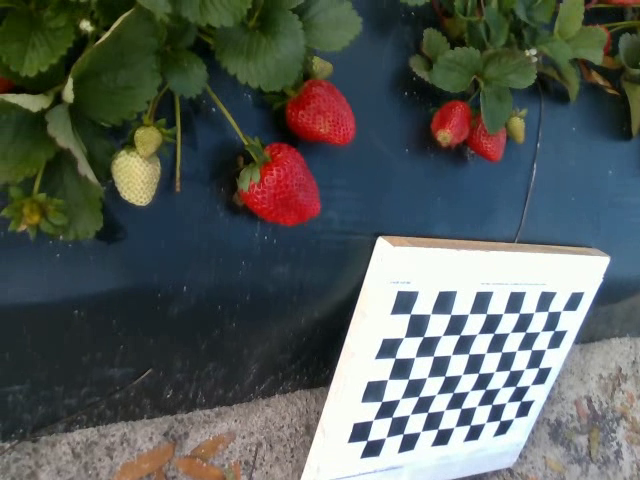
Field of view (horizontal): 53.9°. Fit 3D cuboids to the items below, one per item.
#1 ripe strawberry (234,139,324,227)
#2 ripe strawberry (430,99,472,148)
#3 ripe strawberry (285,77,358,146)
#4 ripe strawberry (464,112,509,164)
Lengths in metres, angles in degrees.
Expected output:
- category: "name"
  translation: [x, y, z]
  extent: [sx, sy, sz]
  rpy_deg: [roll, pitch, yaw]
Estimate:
- category: "ripe strawberry"
  translation: [-0.025, -0.036, 0.458]
  extent: [0.065, 0.059, 0.044]
  rpy_deg: [41, 8, -23]
- category: "ripe strawberry"
  translation: [0.111, -0.094, 0.537]
  extent: [0.038, 0.047, 0.053]
  rpy_deg: [19, 41, 25]
- category: "ripe strawberry"
  translation: [0.004, -0.093, 0.475]
  extent: [0.059, 0.051, 0.051]
  rpy_deg: [42, 11, 9]
- category: "ripe strawberry"
  translation: [0.152, -0.084, 0.551]
  extent: [0.043, 0.049, 0.041]
  rpy_deg: [-1, -35, -29]
